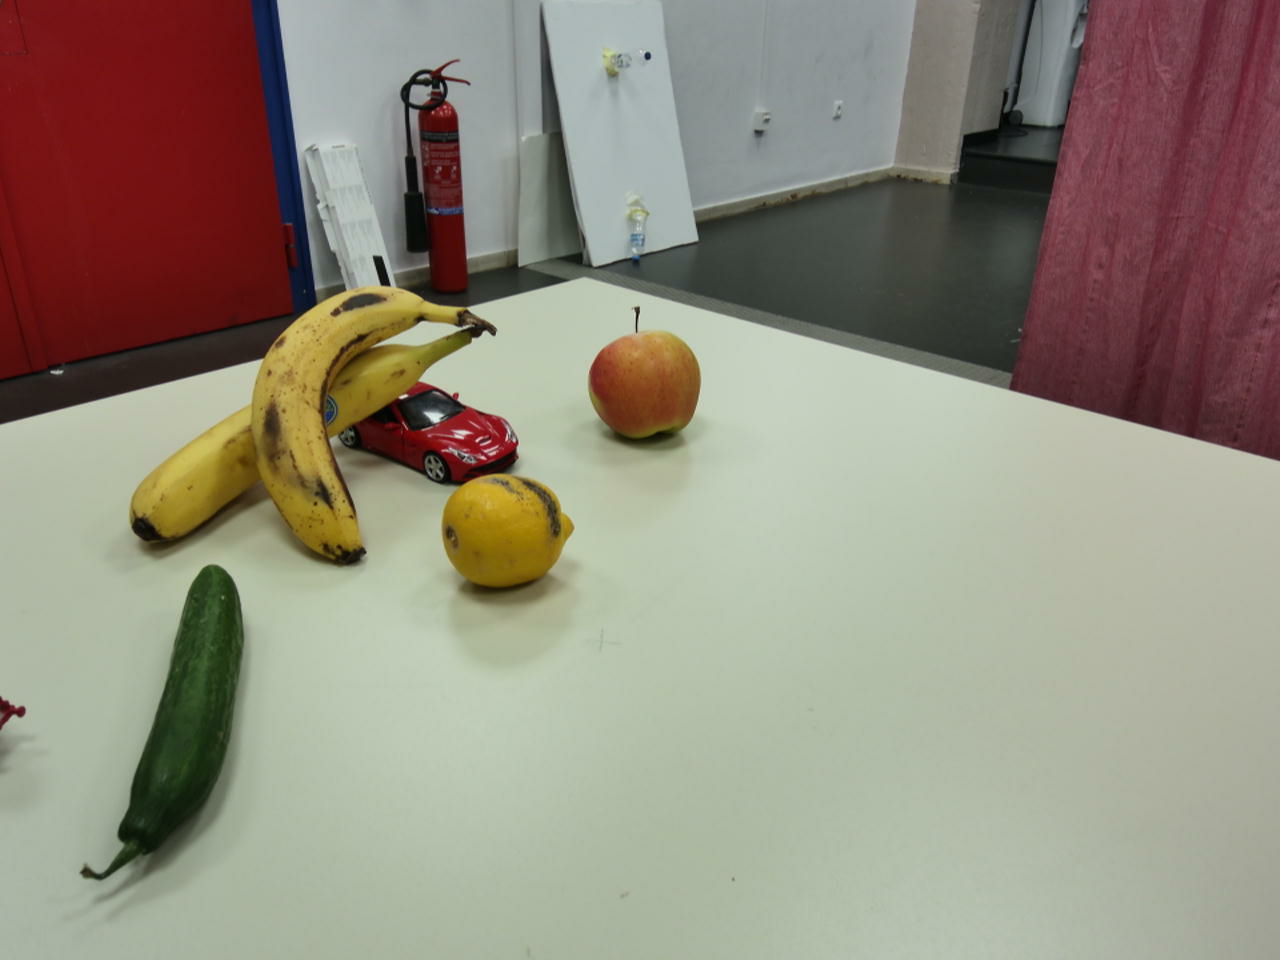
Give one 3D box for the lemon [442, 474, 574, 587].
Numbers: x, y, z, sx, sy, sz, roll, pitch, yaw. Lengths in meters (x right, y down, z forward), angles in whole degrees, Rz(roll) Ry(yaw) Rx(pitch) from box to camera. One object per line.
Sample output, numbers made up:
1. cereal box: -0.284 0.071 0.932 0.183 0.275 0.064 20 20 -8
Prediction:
1. lemon: -0.068 0.025 0.498 0.058 0.056 0.061 16 29 30
